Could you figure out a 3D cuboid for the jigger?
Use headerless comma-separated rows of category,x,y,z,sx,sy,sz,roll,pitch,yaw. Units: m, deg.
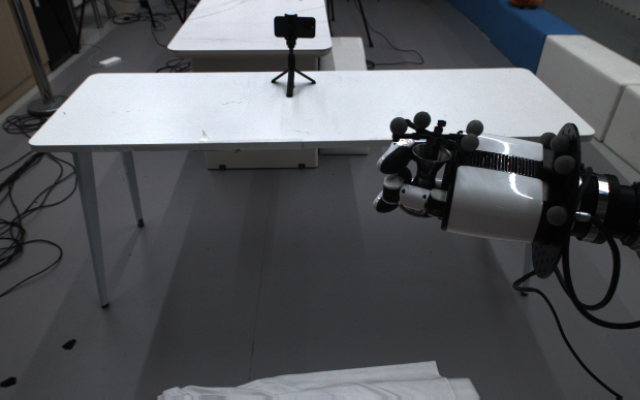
jigger,0.117,-0.022,0.524,0.043,0.071,0.043,4,31,-2
